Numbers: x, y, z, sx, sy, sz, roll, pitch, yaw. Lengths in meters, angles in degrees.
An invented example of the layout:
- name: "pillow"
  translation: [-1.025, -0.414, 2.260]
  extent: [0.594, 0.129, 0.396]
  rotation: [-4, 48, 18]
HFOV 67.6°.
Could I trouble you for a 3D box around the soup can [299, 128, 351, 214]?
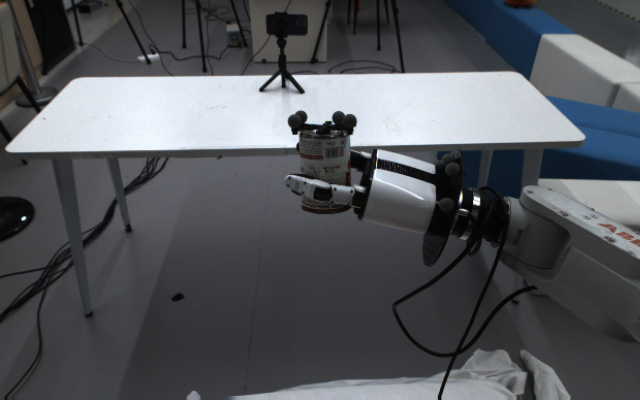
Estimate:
- name: "soup can"
  translation: [0.009, -0.039, 0.631]
  extent: [0.067, 0.101, 0.067]
  rotation: [-2, 17, 0]
